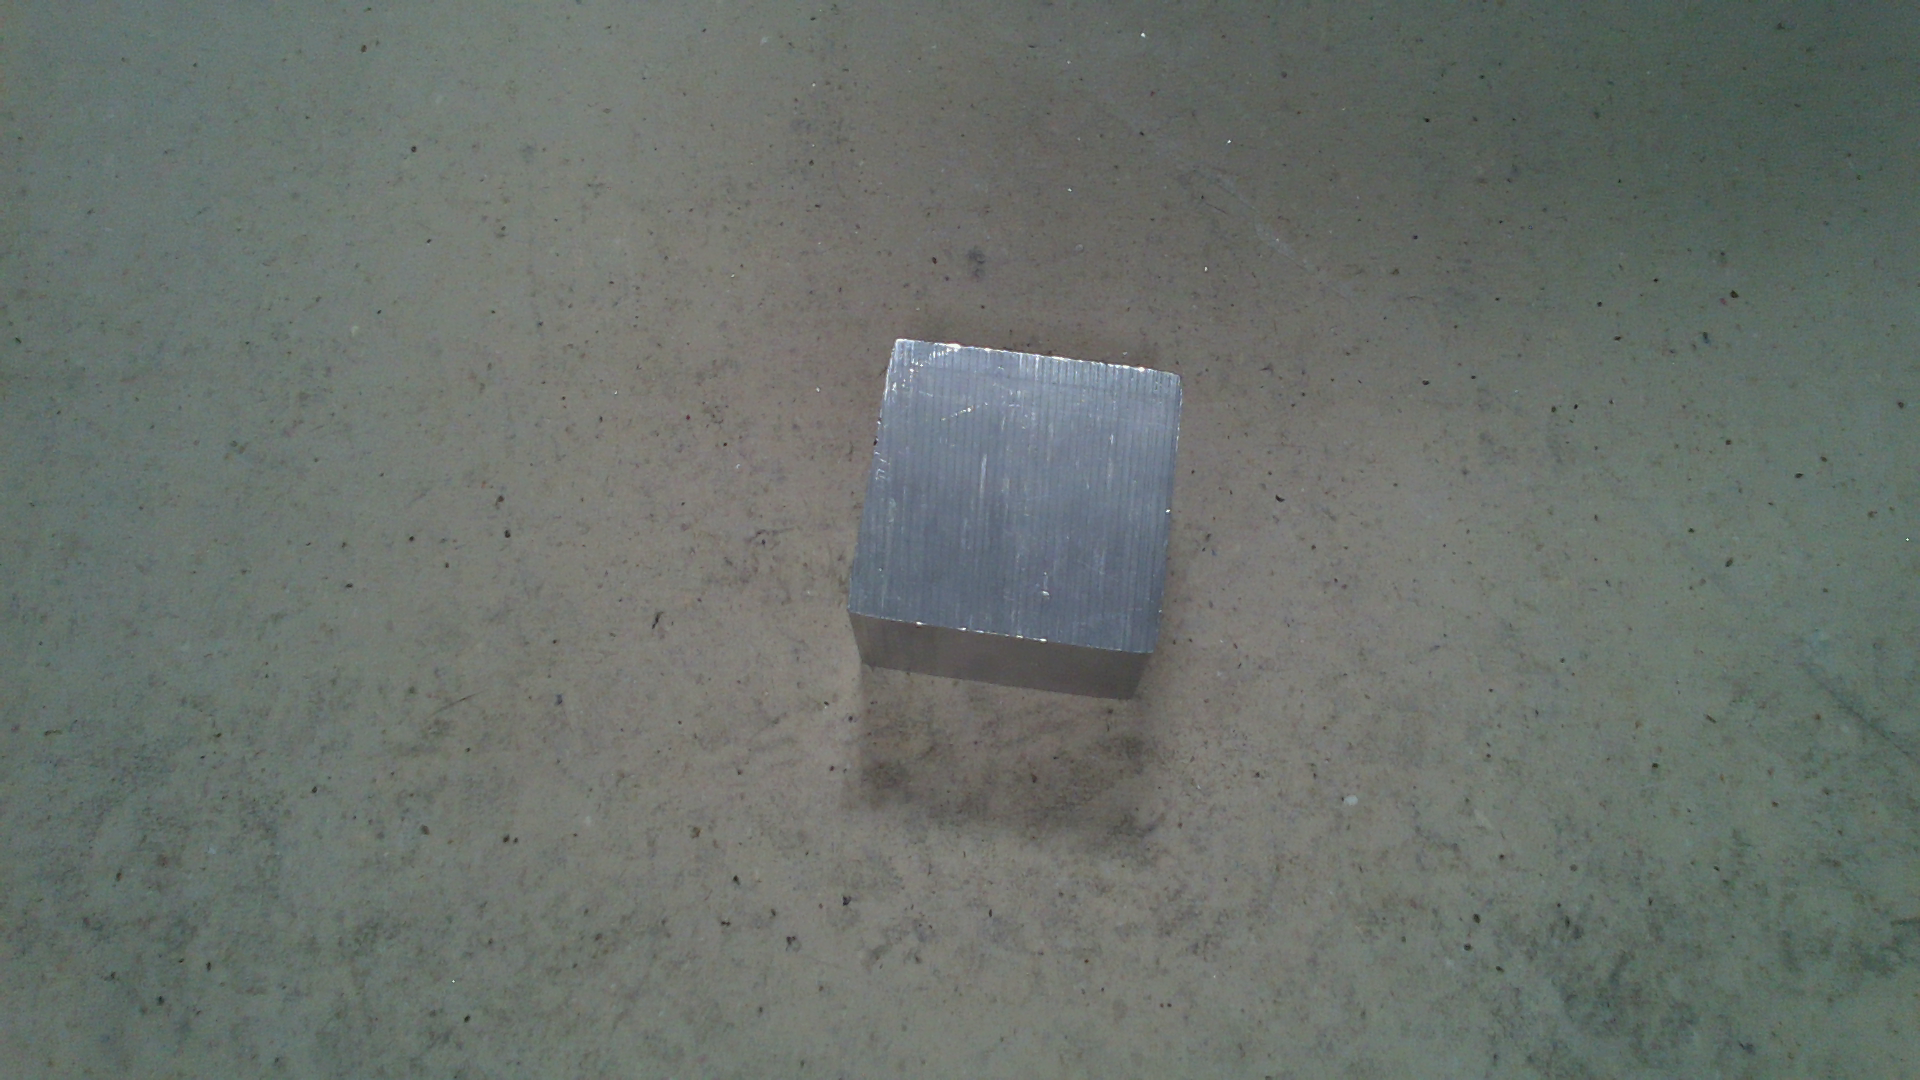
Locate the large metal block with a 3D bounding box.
[{"bbox_3d":[0.016,-0.005,0.383,0.080,0.050,0.080,7,70,3],"label":"large metal block"}]
